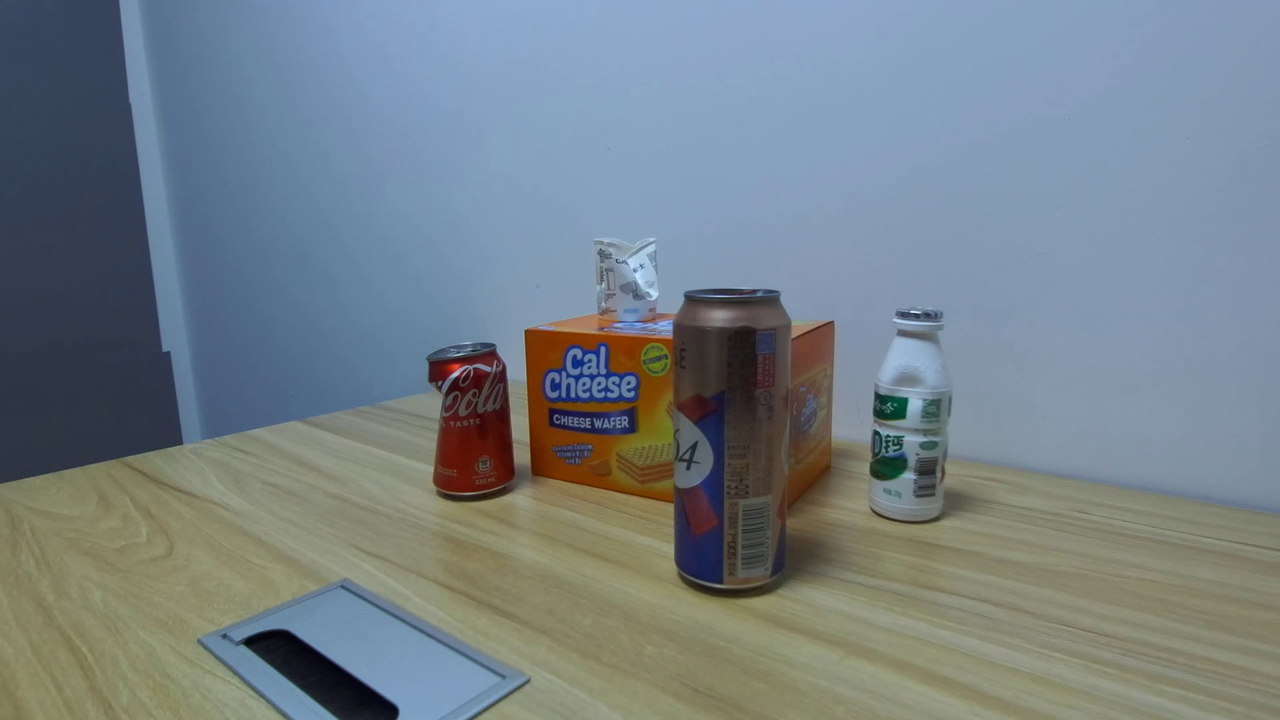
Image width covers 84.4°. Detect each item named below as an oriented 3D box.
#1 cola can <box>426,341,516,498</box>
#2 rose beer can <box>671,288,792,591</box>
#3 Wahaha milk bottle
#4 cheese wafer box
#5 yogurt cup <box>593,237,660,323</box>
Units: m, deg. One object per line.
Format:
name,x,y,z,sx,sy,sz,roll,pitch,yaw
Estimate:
cola can,-0.134,0.047,0.566,0.065,0.117,0.072,-1,11,-6
rose beer can,0.053,0.046,0.409,0.068,0.169,0.068,-1,11,1
Wahaha milk bottle,0.191,0.043,0.497,0.053,0.136,0.053,0,12,0
cheese wafer box,0.036,0.033,0.597,0.221,0.129,0.149,4,11,30
yogurt cup,-0.011,-0.074,0.637,0.055,0.072,0.055,-3,13,-12
